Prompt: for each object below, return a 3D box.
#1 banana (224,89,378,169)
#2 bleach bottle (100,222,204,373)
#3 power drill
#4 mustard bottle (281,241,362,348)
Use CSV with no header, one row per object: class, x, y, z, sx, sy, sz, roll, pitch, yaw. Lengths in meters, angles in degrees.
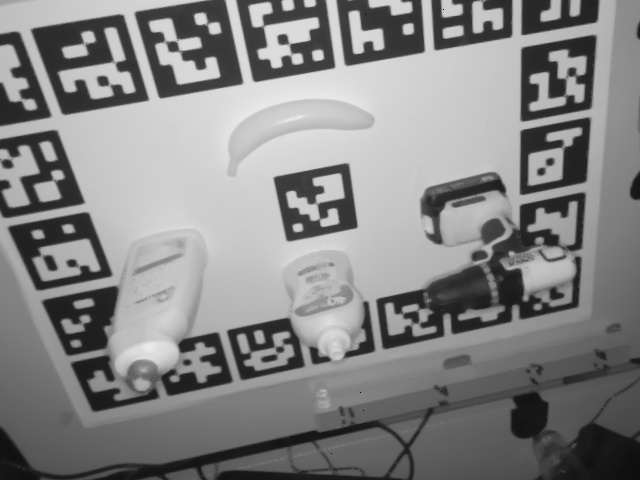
banana,-0.029,-0.144,0.834,0.198,0.039,0.074,-15,117,-4
bleach bottle,-0.191,0.064,0.806,0.103,0.252,0.067,-2,118,-6
power drill,0.186,0.015,0.841,0.185,0.187,0.057,-16,119,-4
mustard bottle,0.002,0.072,0.877,0.096,0.192,0.058,-16,119,3
